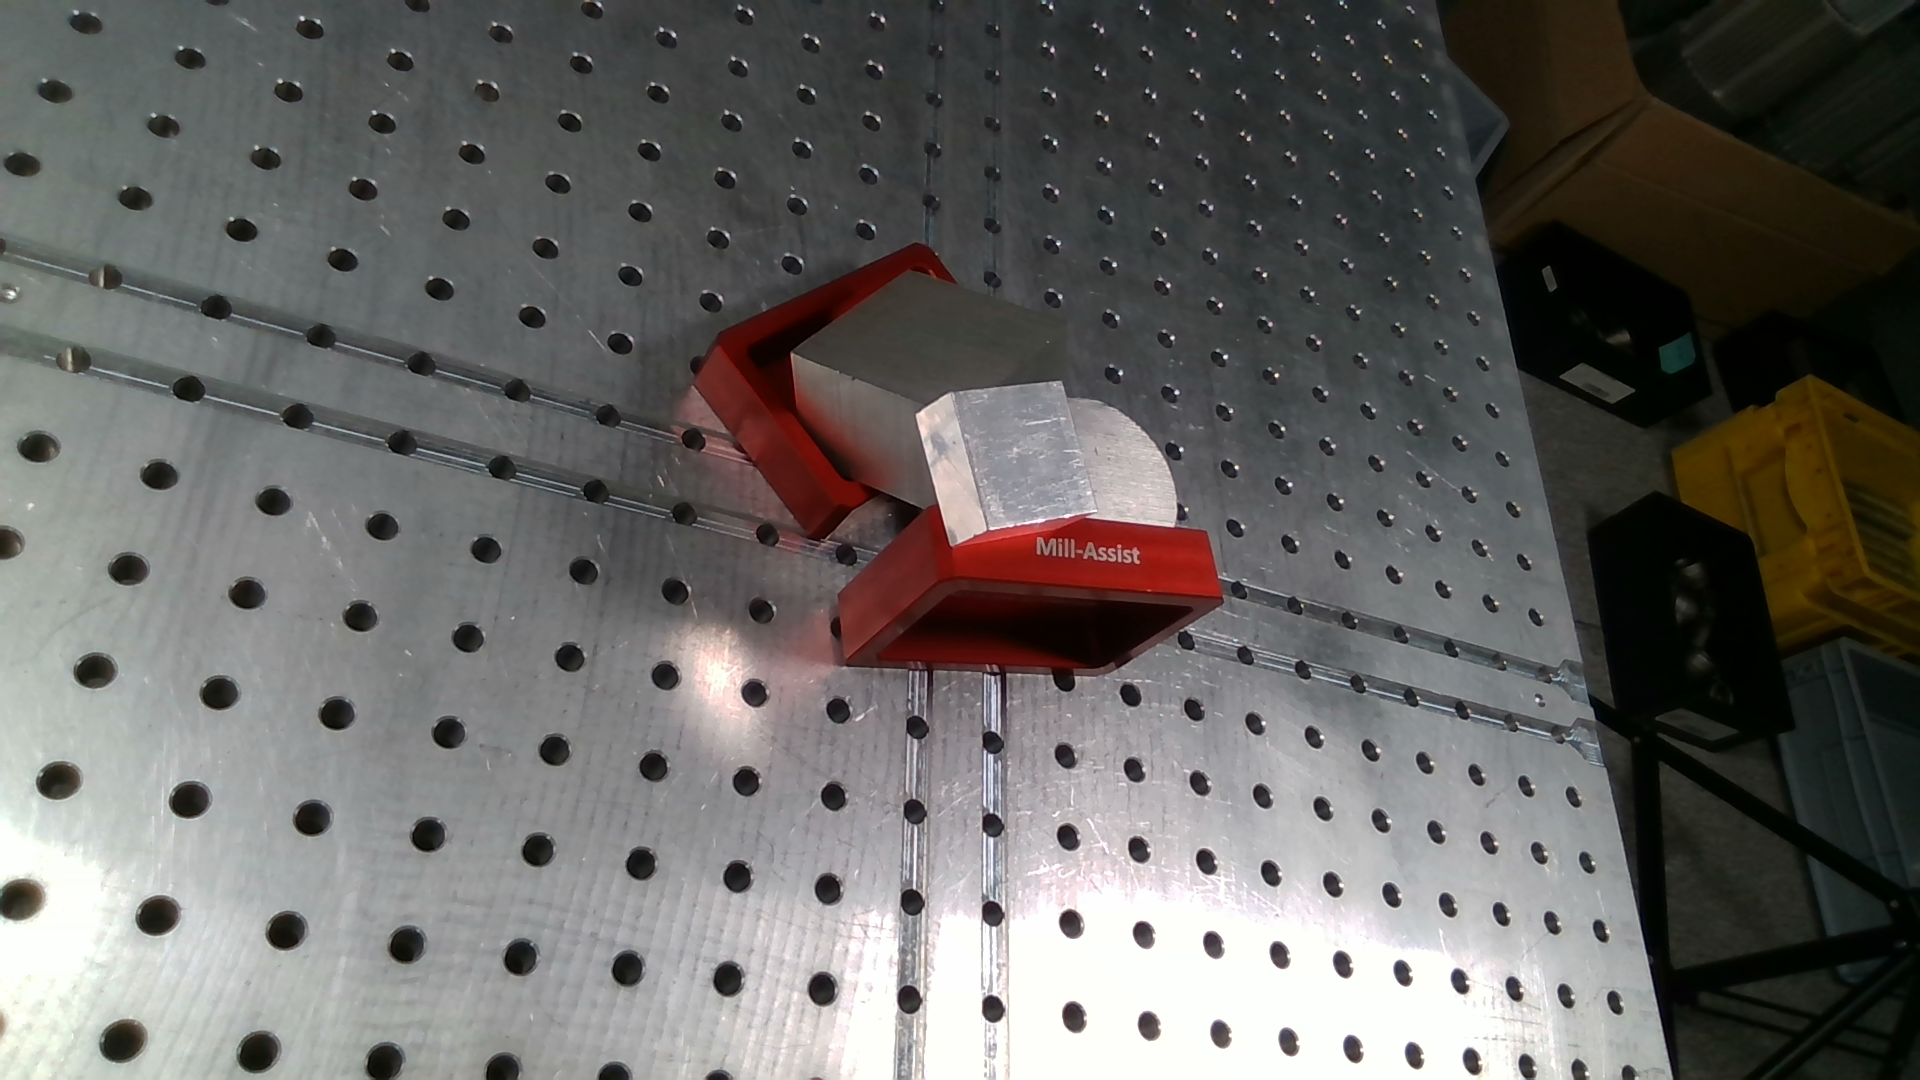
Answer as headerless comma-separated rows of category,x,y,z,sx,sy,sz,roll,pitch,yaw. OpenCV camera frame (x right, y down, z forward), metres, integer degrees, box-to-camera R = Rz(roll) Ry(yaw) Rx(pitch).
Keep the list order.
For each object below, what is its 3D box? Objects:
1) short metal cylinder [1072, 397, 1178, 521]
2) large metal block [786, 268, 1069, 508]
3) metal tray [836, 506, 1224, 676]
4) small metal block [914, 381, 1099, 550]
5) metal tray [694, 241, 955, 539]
short metal cylinder,0.049,-0.016,0.612,0.080,0.050,0.080,14,59,-25
large metal block,-0.012,-0.061,0.558,0.080,0.050,0.080,23,46,26
metal tray,0.027,0.024,0.551,0.130,0.090,0.030,5,63,-29
small metal block,0.017,-0.027,0.492,0.050,0.025,0.050,-10,82,-35
metal tray,-0.038,-0.068,0.598,0.130,0.030,0.090,-34,86,-39
